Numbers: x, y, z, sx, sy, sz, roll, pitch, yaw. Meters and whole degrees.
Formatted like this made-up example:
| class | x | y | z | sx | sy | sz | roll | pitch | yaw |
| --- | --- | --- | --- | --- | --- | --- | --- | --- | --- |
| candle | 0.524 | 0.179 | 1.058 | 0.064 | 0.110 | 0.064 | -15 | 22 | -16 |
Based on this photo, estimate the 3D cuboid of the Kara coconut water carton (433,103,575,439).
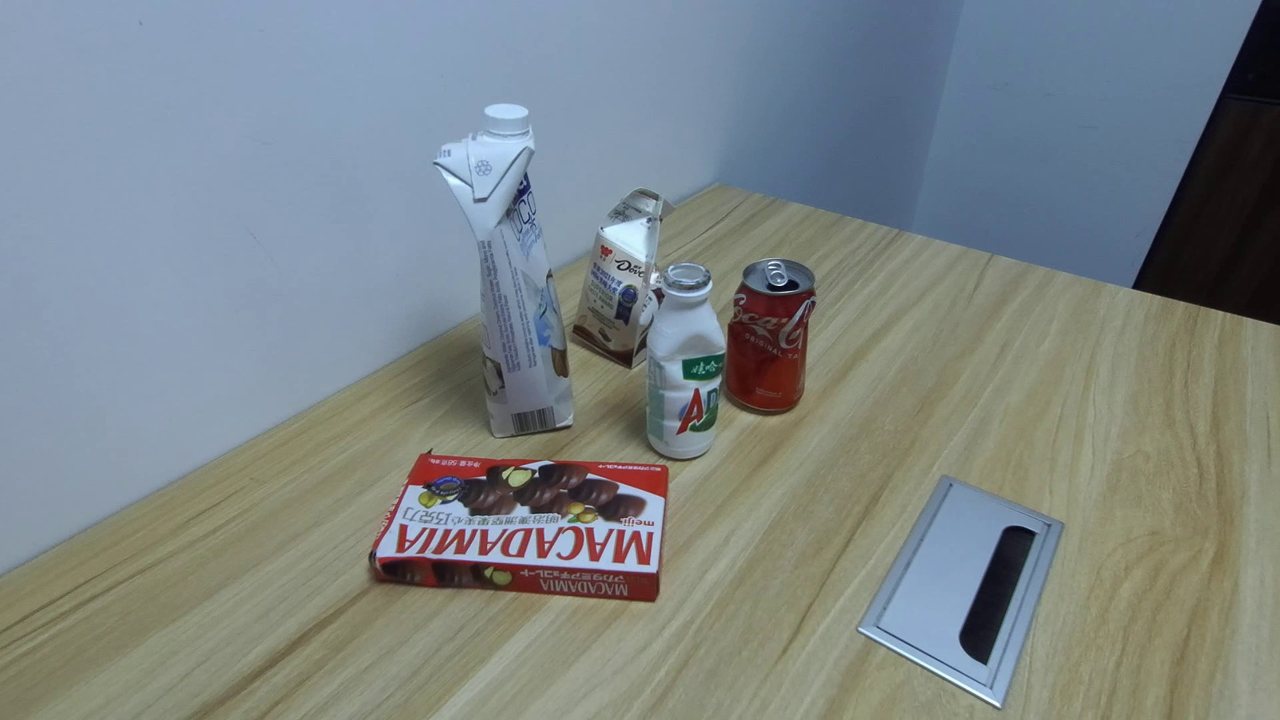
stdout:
| class | x | y | z | sx | sy | sz | roll | pitch | yaw |
| --- | --- | --- | --- | --- | --- | --- | --- | --- | --- |
| Kara coconut water carton | -0.094 | -0.059 | 0.517 | 0.069 | 0.239 | 0.115 | -7 | 32 | -6 |

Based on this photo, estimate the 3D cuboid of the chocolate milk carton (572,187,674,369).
| class | x | y | z | sx | sy | sz | roll | pitch | yaw |
| --- | --- | --- | --- | --- | --- | --- | --- | --- | --- |
| chocolate milk carton | -0.005 | -0.079 | 0.627 | 0.076 | 0.155 | 0.089 | 22 | 25 | 24 |

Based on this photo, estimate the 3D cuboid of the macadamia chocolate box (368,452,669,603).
| class | x | y | z | sx | sy | sz | roll | pitch | yaw |
| --- | --- | --- | --- | --- | --- | --- | --- | --- | --- |
| macadamia chocolate box | -0.075 | 0.106 | 0.469 | 0.183 | 0.028 | 0.105 | 2 | 34 | 5 |

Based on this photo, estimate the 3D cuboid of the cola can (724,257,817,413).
| class | x | y | z | sx | sy | sz | roll | pitch | yaw |
| --- | --- | --- | --- | --- | --- | --- | --- | --- | --- |
| cola can | 0.105 | -0.019 | 0.567 | 0.066 | 0.117 | 0.066 | 18 | 38 | 26 |

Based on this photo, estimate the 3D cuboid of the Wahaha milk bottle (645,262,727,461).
| class | x | y | z | sx | sy | sz | roll | pitch | yaw |
| --- | --- | --- | --- | --- | --- | --- | --- | --- | --- |
| Wahaha milk bottle | 0.031 | 0.003 | 0.502 | 0.056 | 0.148 | 0.056 | 1 | 36 | -1 |
